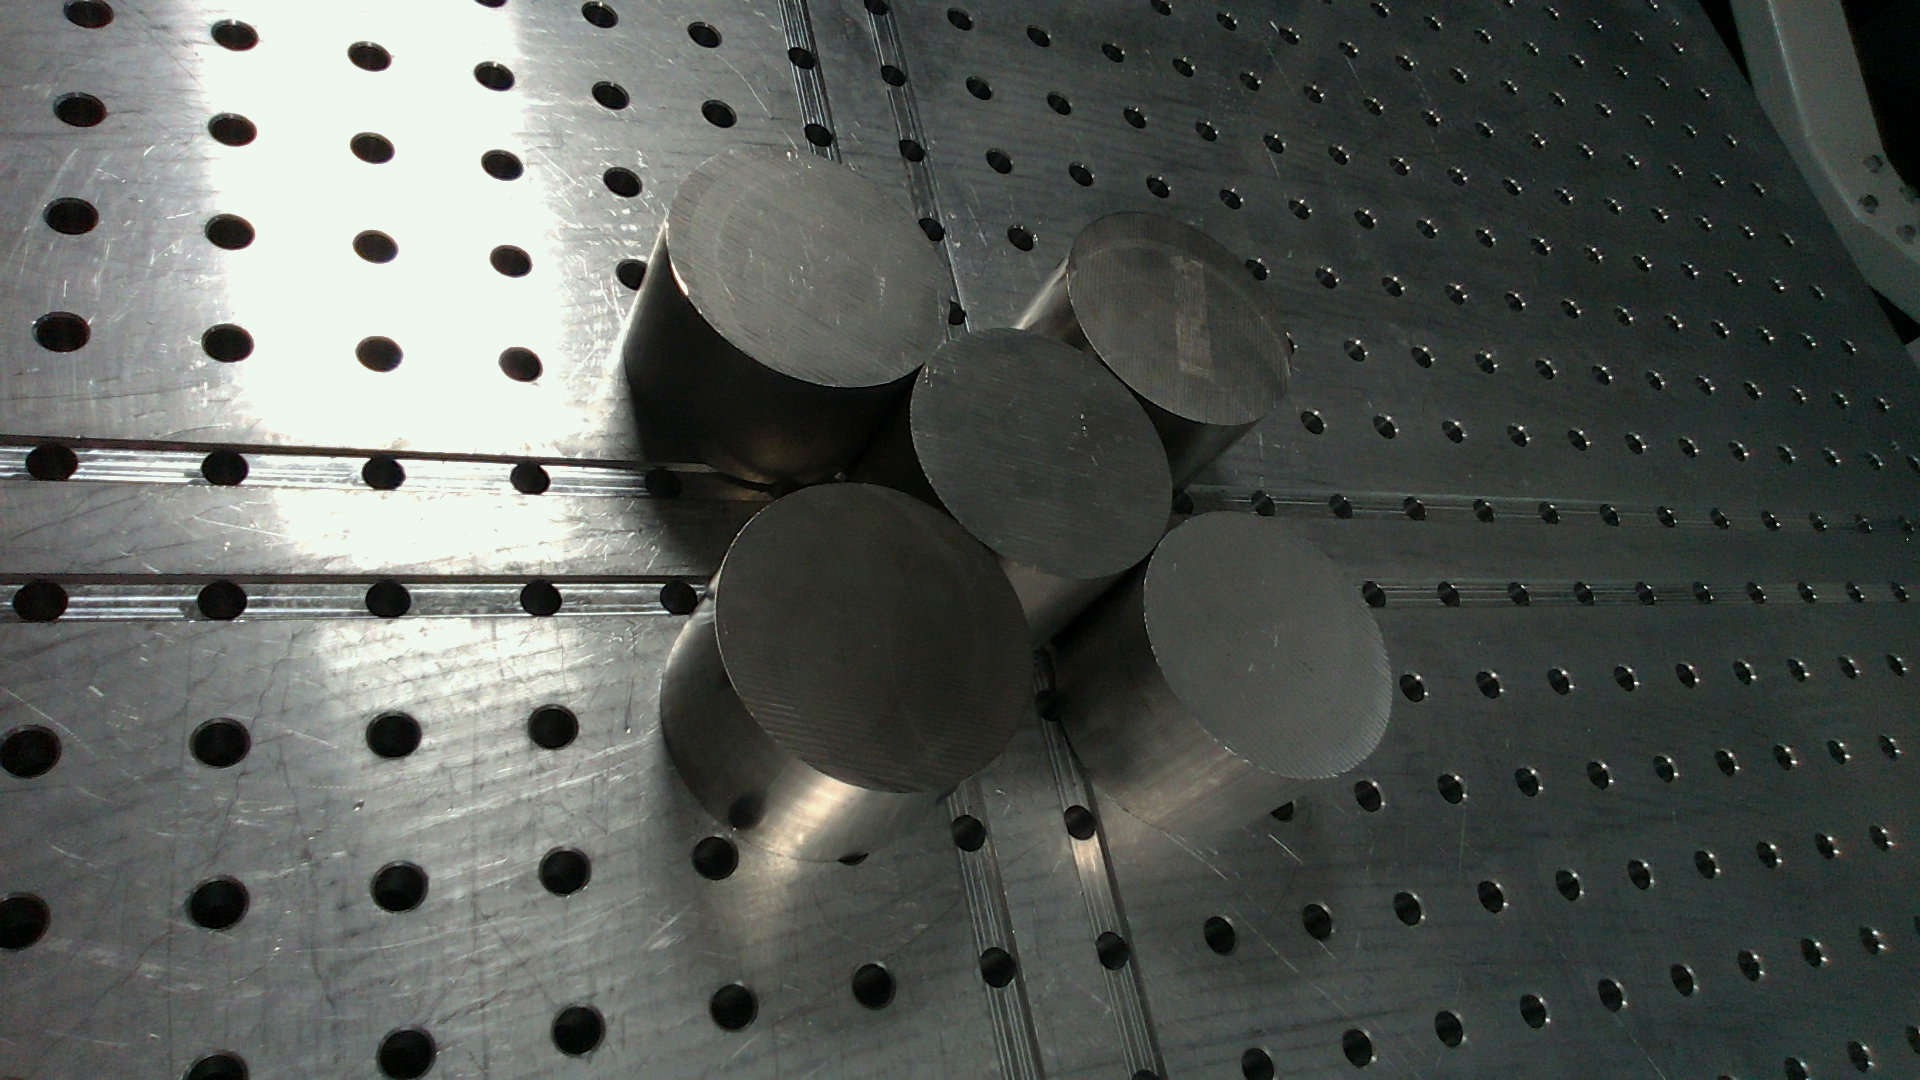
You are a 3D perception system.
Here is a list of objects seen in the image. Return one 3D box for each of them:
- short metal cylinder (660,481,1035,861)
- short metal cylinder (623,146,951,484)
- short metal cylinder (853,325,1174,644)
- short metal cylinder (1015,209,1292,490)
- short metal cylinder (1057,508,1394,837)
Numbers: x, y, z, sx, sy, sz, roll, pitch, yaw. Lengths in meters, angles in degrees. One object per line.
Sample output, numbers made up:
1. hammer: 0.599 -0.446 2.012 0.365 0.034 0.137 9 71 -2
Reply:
1. short metal cylinder: -0.028 0.033 0.340 0.080 0.050 0.080 14 56 -21
2. short metal cylinder: -0.049 -0.063 0.388 0.080 0.050 0.080 14 56 -21
3. short metal cylinder: 0.013 -0.013 0.391 0.080 0.050 0.080 14 56 -21
4. short metal cylinder: 0.058 -0.058 0.441 0.080 0.050 0.080 14 56 -21
5. short metal cylinder: 0.075 0.038 0.393 0.080 0.050 0.080 14 56 -21
